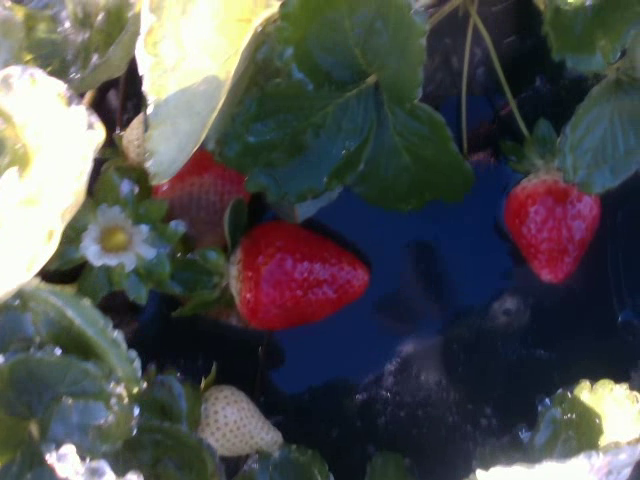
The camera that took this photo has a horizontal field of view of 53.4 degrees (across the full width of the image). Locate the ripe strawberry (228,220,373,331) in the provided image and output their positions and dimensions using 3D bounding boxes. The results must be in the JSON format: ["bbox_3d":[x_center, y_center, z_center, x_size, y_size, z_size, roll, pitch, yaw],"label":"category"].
[{"bbox_3d":[-0.004,0.018,0.235,0.056,0.044,0.040,6,17,-13],"label":"ripe strawberry"}]

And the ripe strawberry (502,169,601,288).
[{"bbox_3d":[0.087,-0.004,0.230,0.039,0.047,0.040,-5,8,-9],"label":"ripe strawberry"}]
